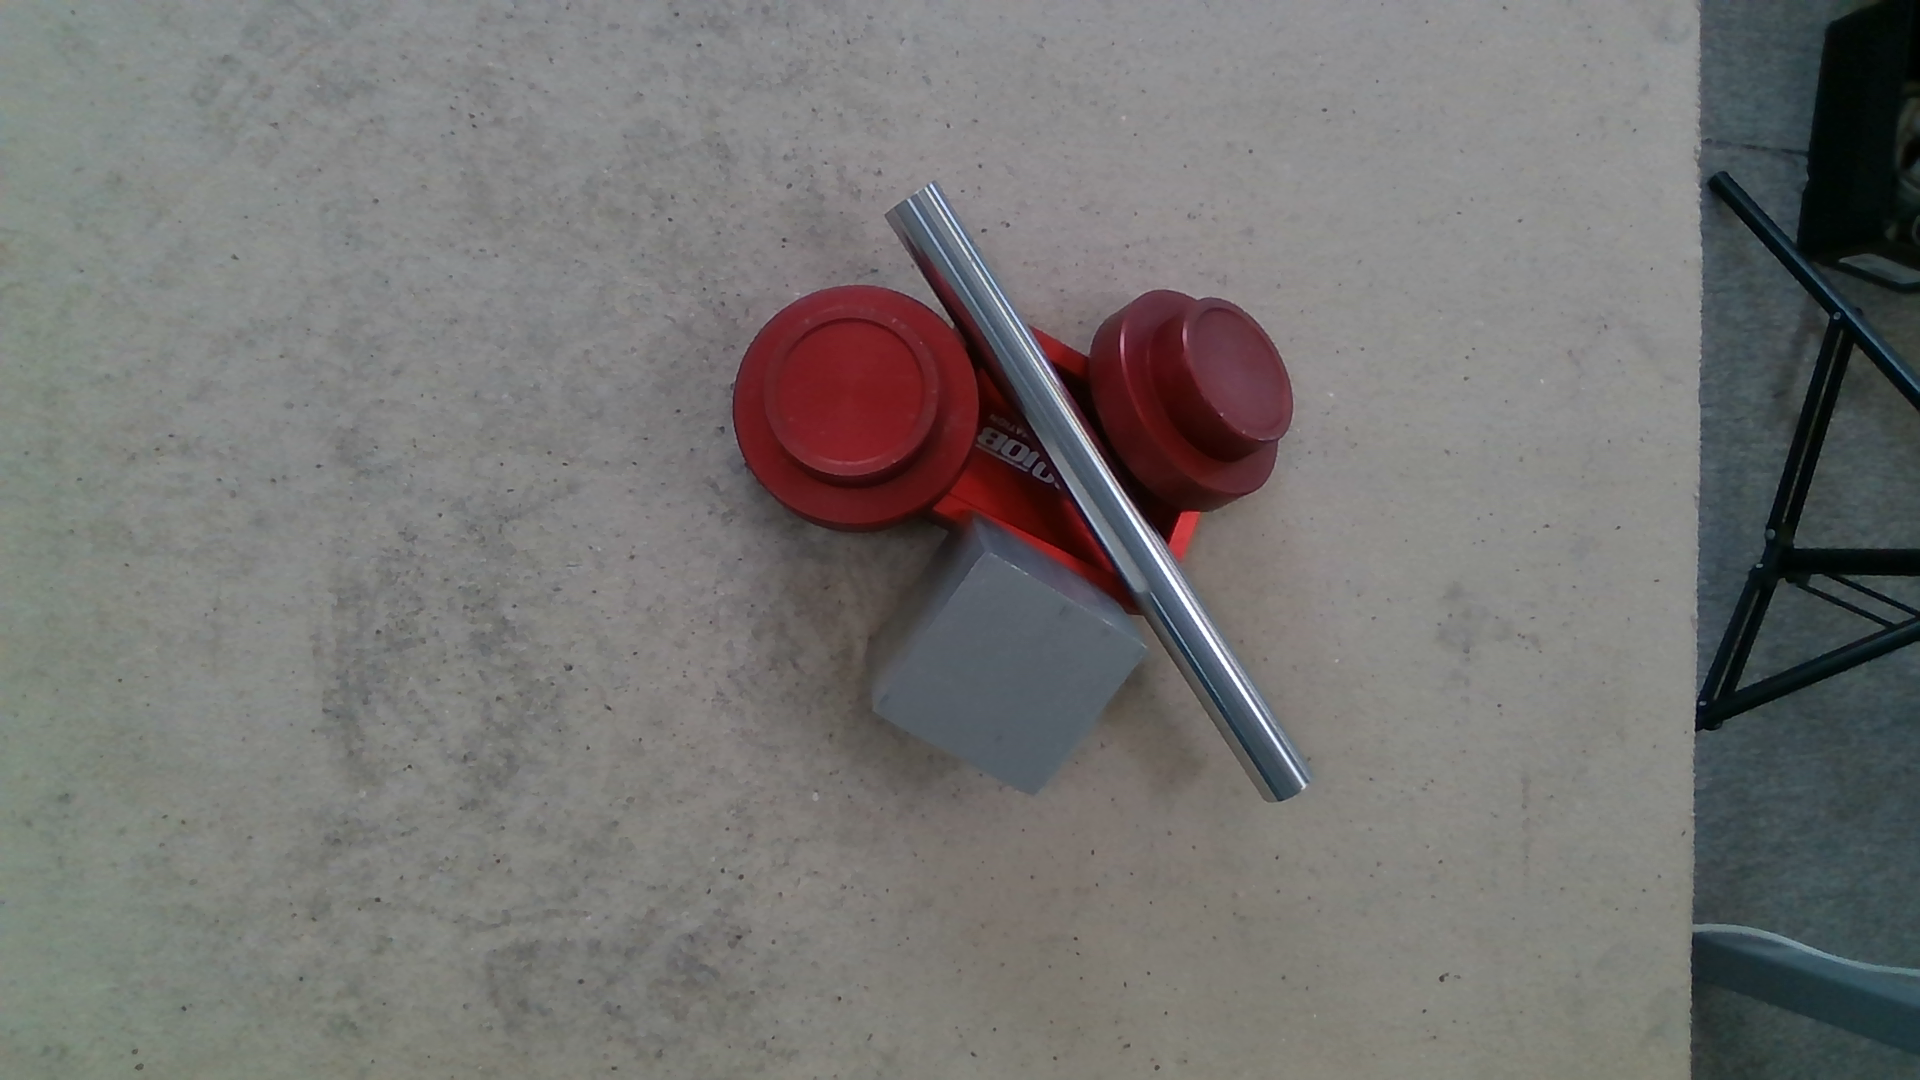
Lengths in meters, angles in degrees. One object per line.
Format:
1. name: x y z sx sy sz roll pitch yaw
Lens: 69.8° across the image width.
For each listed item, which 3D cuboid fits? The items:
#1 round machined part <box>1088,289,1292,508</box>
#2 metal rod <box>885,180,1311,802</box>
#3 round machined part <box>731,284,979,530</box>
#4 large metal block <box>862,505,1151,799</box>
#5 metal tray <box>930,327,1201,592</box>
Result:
1. round machined part: 0.105 -0.065 0.595 0.098 0.042 0.098 19 58 -33
2. metal rod: 0.062 -0.014 0.578 0.025 0.025 0.300 -37 102 -16
3. round machined part: -0.042 -0.054 0.543 0.098 0.042 0.098 0 83 0
4. large metal block: 0.017 0.046 0.564 0.080 0.050 0.080 31 104 -18
5. metal tray: 0.043 -0.032 0.600 0.130 0.030 0.090 26 82 -19
